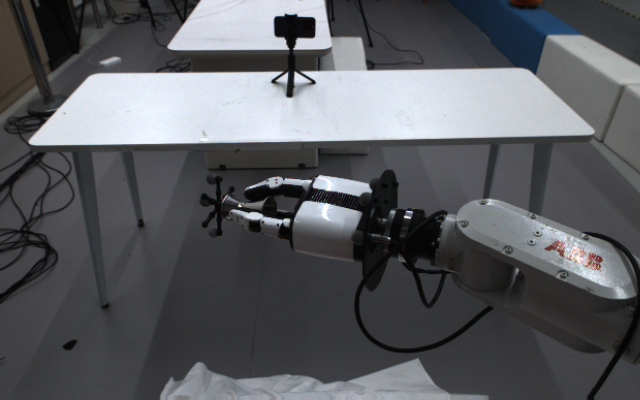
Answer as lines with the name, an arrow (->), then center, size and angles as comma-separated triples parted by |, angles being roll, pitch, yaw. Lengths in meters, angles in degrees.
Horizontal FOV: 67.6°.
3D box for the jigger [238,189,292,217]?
jigger -> -0.095, 0.011, 0.693 | 0.071, 0.043, 0.043 | 5, 34, 22
